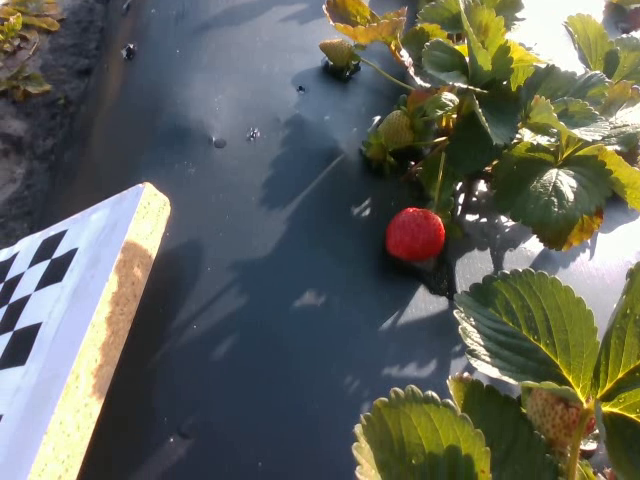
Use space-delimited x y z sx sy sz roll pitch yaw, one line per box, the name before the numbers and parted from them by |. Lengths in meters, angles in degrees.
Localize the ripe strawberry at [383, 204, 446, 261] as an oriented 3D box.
ripe strawberry | 0.048 0.000 0.318 0.044 0.033 0.030 -28 22 -35
